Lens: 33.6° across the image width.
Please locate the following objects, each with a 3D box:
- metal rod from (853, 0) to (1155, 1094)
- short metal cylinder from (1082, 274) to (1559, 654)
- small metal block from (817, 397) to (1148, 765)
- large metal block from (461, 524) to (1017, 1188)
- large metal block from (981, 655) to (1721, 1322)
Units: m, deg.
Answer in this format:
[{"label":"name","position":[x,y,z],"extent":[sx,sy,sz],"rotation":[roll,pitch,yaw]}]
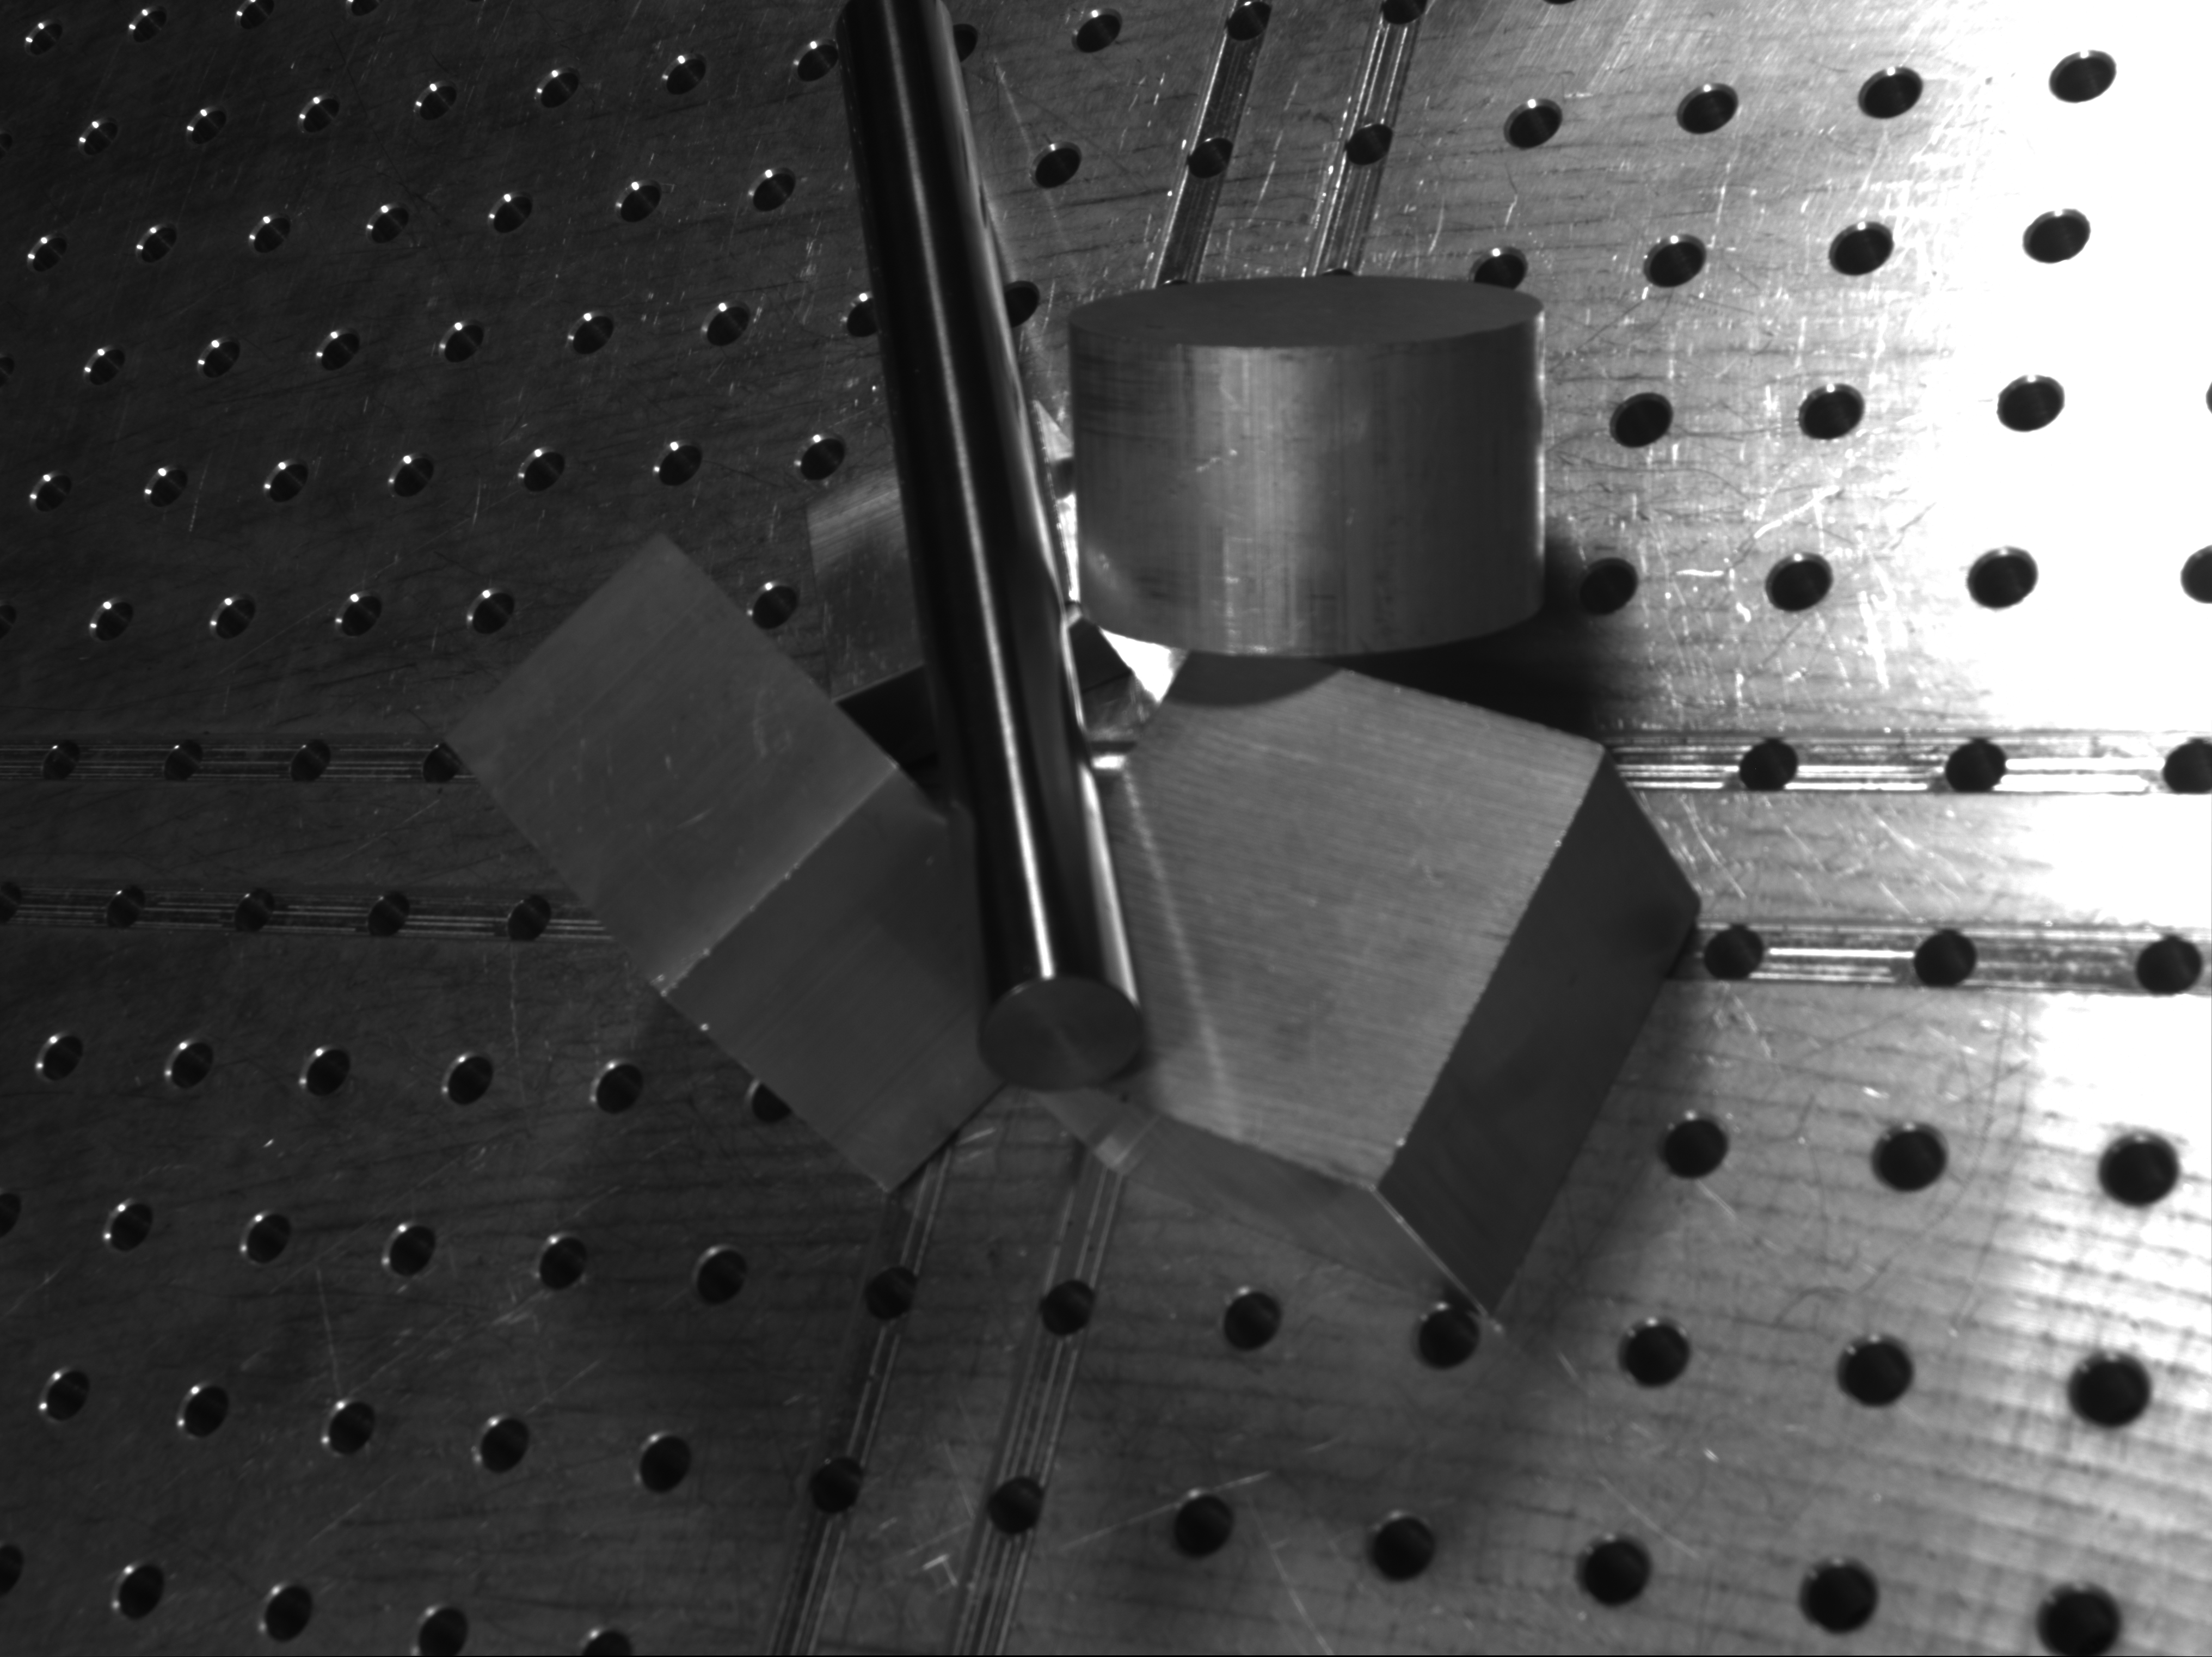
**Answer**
[{"label":"metal rod","position":[-0.023,-0.068,0.663],"extent":[0.025,0.025,0.300],"rotation":[-25,41,13]},{"label":"short metal cylinder","position":[0.037,-0.064,0.623],"extent":[0.080,0.080,0.050],"rotation":[9,110,32]},{"label":"small metal block","position":[-0.024,-0.046,0.689],"extent":[0.050,0.025,0.050],"rotation":[-22,53,15]},{"label":"large metal block","position":[-0.054,0.005,0.637],"extent":[0.050,0.080,0.080],"rotation":[-45,51,-3]},{"label":"large metal block","position":[0.041,0.022,0.595],"extent":[0.080,0.050,0.080],"rotation":[19,72,35]}]
